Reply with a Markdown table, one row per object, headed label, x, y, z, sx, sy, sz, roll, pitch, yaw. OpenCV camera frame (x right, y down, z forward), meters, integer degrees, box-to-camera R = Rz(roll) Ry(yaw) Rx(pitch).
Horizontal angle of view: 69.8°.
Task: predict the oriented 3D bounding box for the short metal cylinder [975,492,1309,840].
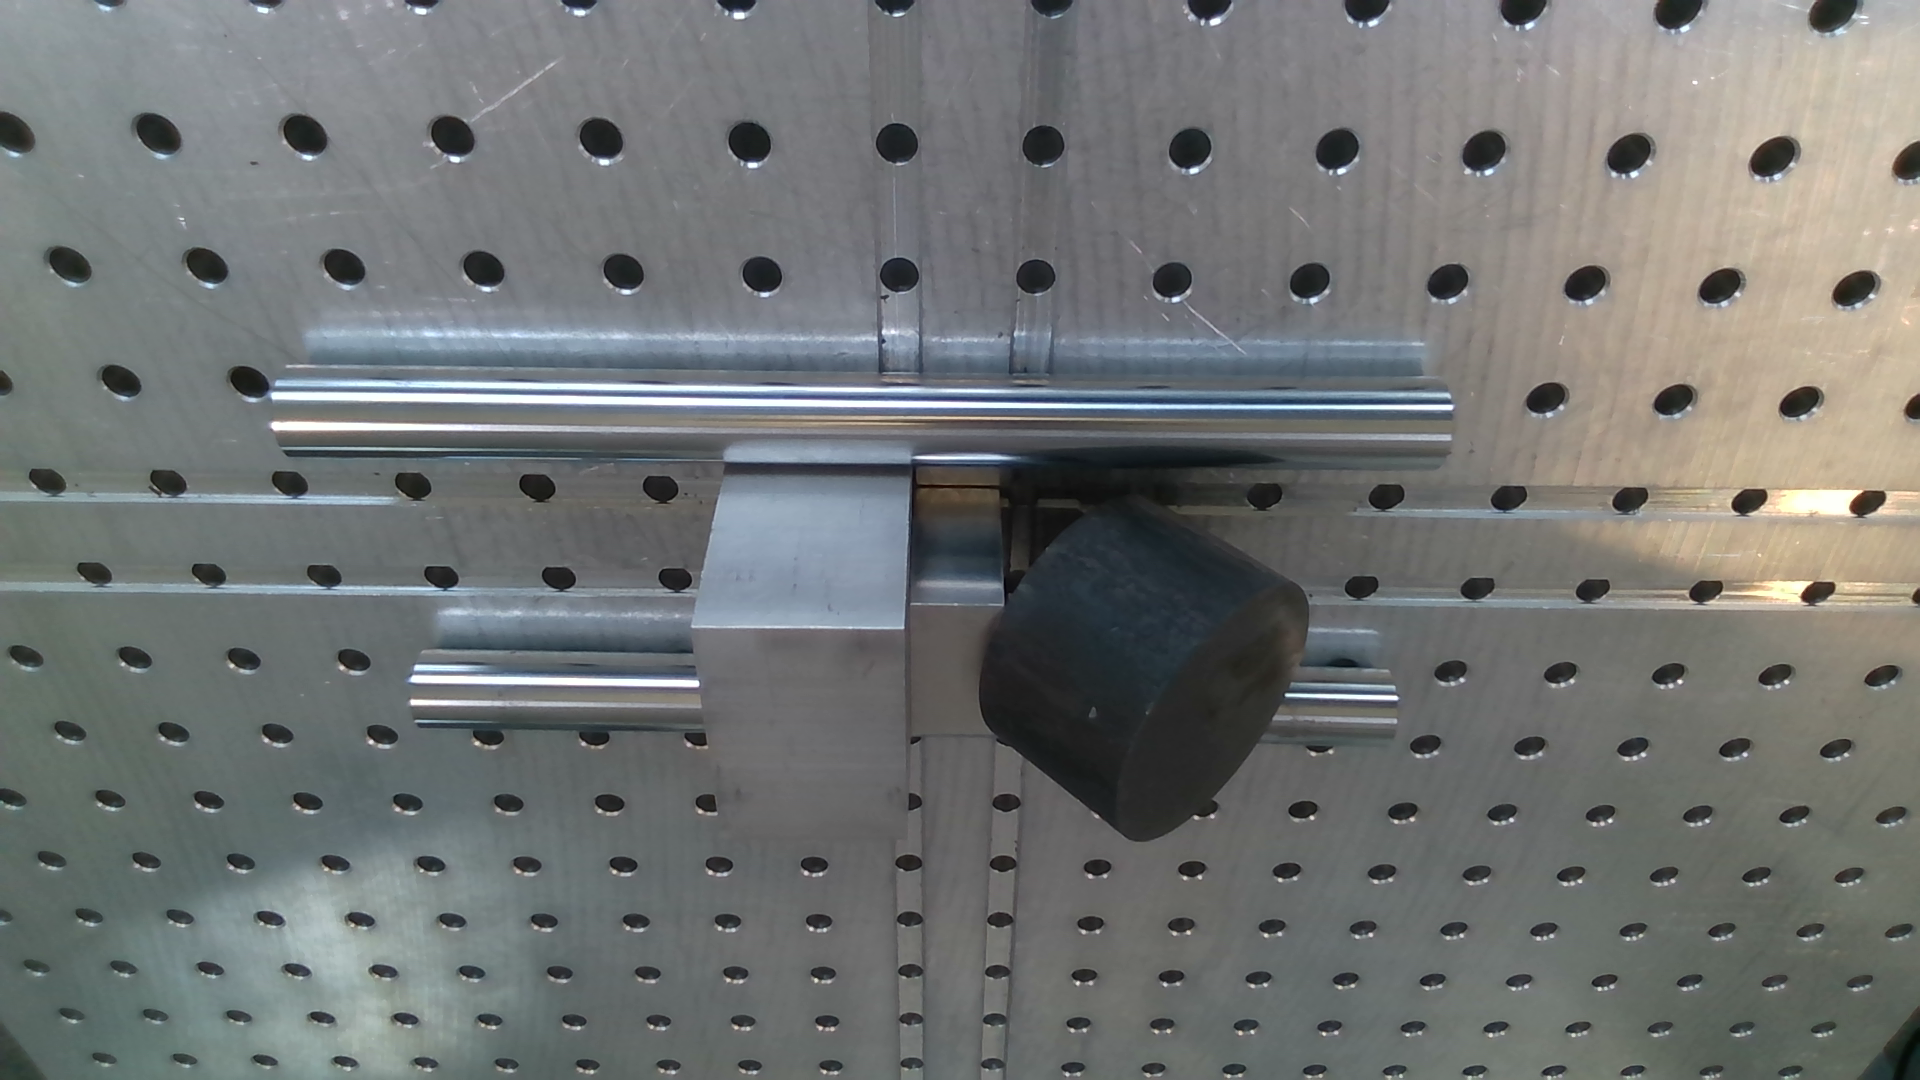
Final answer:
| label | x | y | z | sx | sy | sz | roll | pitch | yaw |
| --- | --- | --- | --- | --- | --- | --- | --- | --- | --- |
| short metal cylinder | 0.050 | 0.034 | 0.376 | 0.080 | 0.050 | 0.080 | -33 | 141 | -32 |

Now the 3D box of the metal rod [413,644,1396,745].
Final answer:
| label | x | y | z | sx | sy | sz | roll | pitch | yaw |
| --- | --- | --- | --- | --- | --- | --- | --- | --- | --- |
| metal rod | -0.016 | 0.049 | 0.433 | 0.300 | 0.025 | 0.025 | 1 | 130 | -1 |

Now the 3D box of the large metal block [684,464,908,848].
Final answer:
| label | x | y | z | sx | sy | sz | roll | pitch | yaw |
| --- | --- | --- | --- | --- | --- | --- | --- | --- | --- |
| large metal block | -0.039 | 0.026 | 0.375 | 0.050 | 0.080 | 0.080 | 1 | 130 | 0 |

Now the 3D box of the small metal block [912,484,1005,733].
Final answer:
| label | x | y | z | sx | sy | sz | roll | pitch | yaw |
| --- | --- | --- | --- | --- | --- | --- | --- | --- | --- |
| small metal block | -0.001 | 0.019 | 0.392 | 0.025 | 0.050 | 0.050 | 1 | 131 | -1 |

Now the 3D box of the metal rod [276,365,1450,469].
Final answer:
| label | x | y | z | sx | sy | sz | roll | pitch | yaw |
| --- | --- | --- | --- | --- | --- | --- | --- | --- | --- |
| metal rod | -0.024 | -0.032 | 0.364 | 0.300 | 0.025 | 0.025 | 0 | 130 | 0 |
